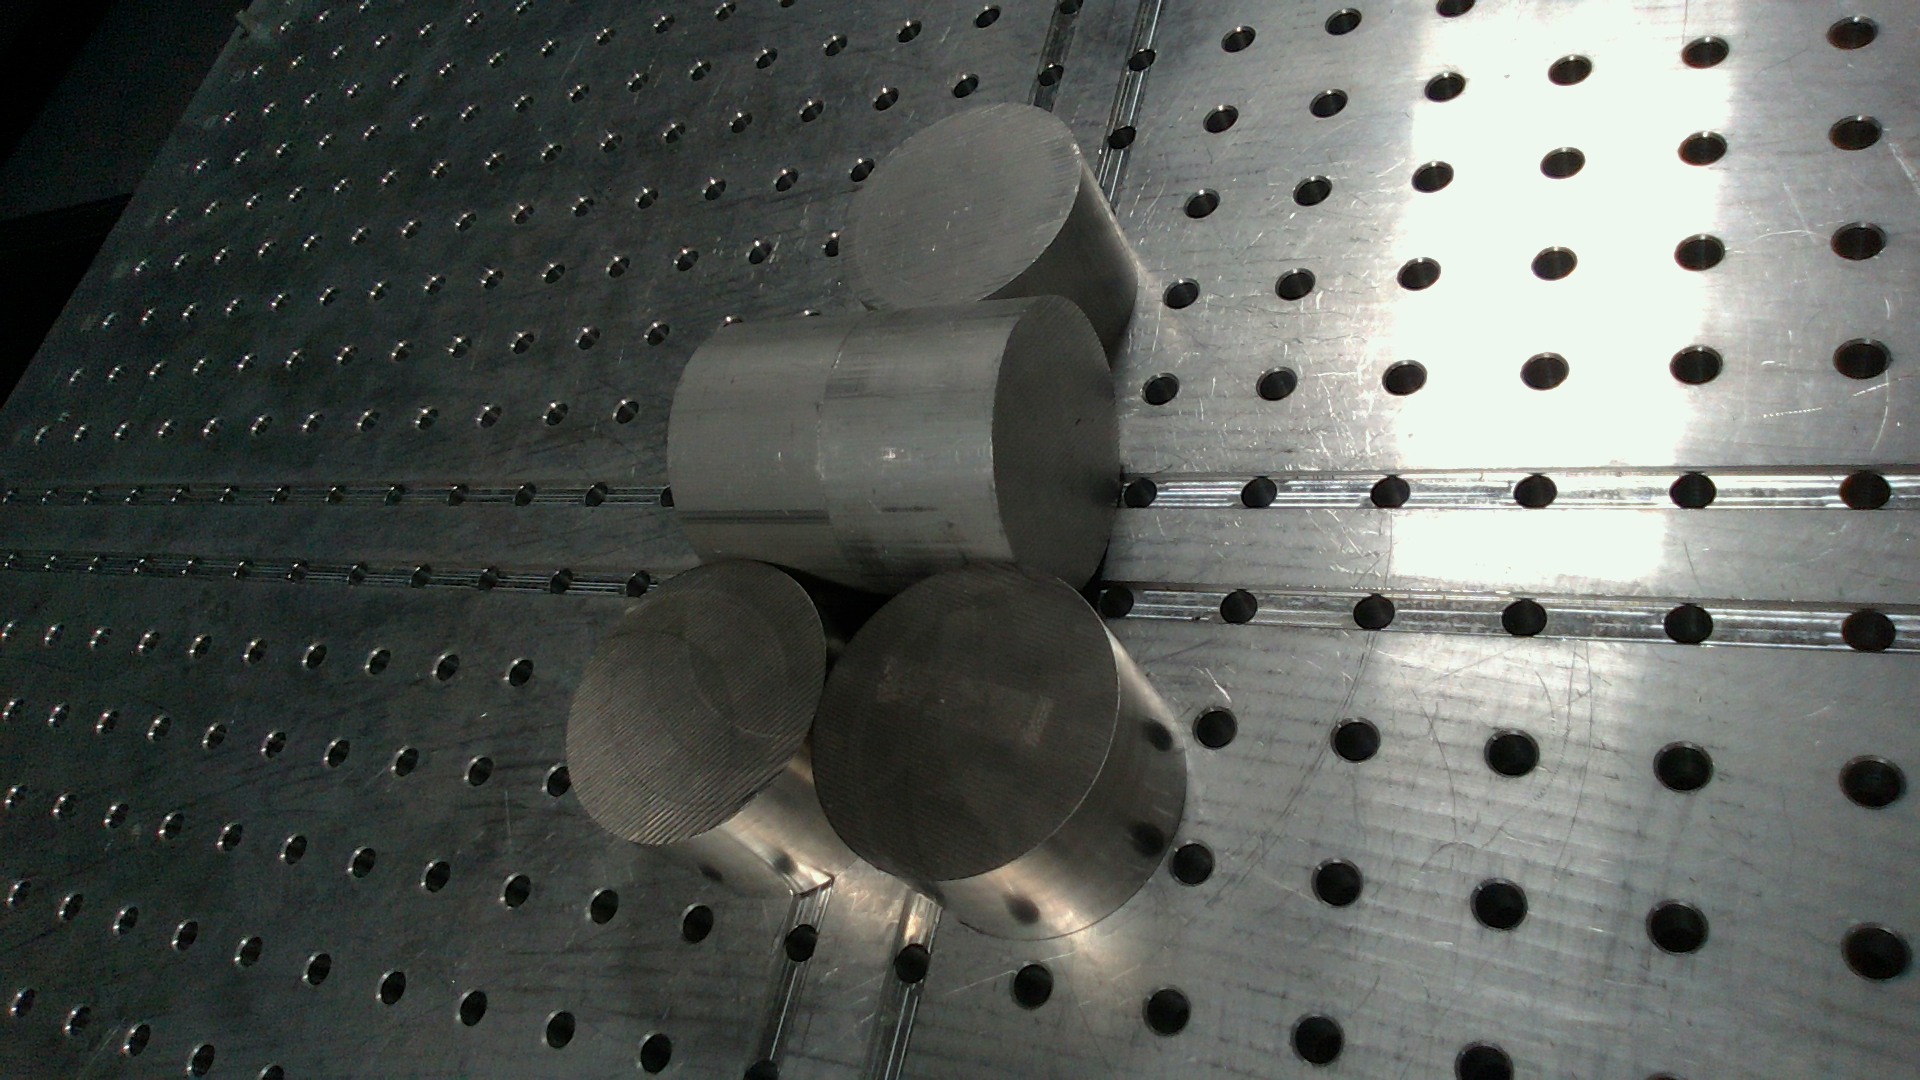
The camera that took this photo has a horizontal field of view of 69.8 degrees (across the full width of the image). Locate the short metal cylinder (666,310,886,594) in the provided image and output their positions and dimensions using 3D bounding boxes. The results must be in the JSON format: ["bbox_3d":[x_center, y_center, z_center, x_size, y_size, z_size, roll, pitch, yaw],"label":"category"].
[{"bbox_3d":[-0.039,-0.025,0.398,0.050,0.080,0.080,0,62,29],"label":"short metal cylinder"}]

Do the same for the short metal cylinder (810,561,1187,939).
[{"bbox_3d":[0.010,0.052,0.341,0.080,0.050,0.080,-14,56,21],"label":"short metal cylinder"}]

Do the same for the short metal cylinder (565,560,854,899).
[{"bbox_3d":[-0.060,0.052,0.380,0.080,0.050,0.080,-14,56,21],"label":"short metal cylinder"}]

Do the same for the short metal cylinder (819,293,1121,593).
[{"bbox_3d":[0.005,-0.025,0.374,0.050,0.080,0.080,0,62,29],"label":"short metal cylinder"}]

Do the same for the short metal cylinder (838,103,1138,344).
[{"bbox_3d":[0.009,-0.088,0.430,0.080,0.050,0.080,-14,56,21],"label":"short metal cylinder"}]
